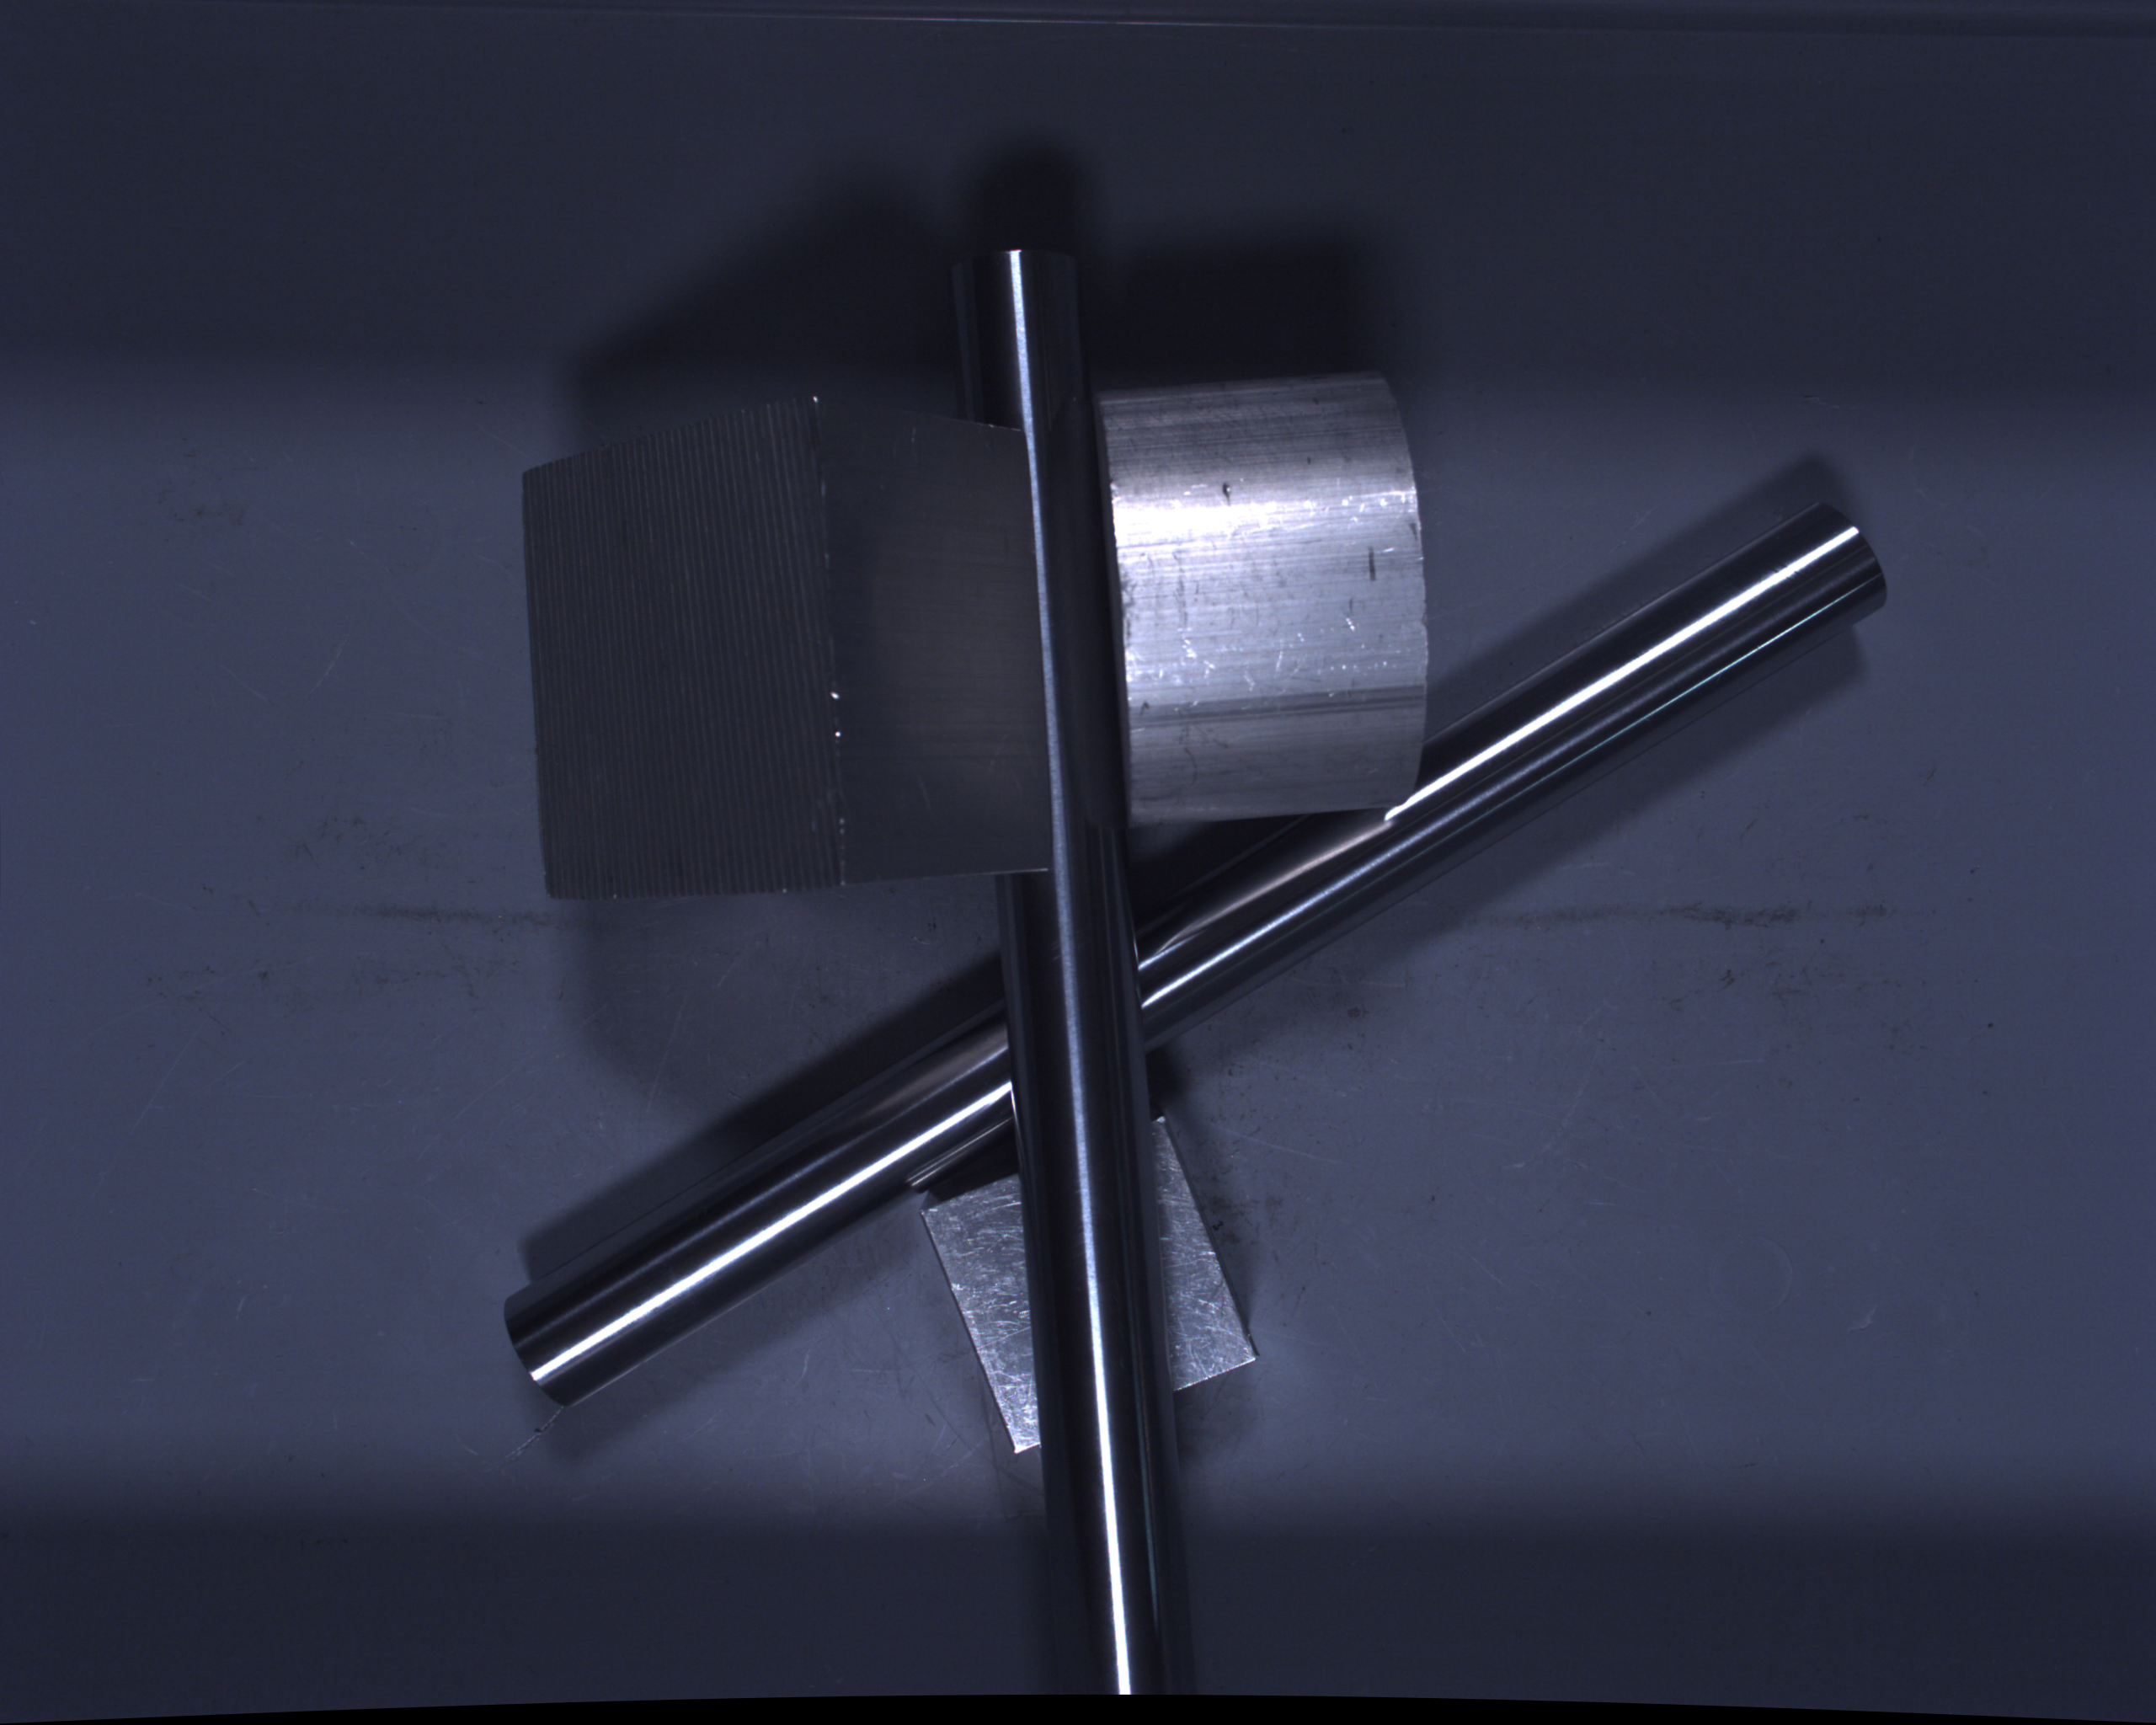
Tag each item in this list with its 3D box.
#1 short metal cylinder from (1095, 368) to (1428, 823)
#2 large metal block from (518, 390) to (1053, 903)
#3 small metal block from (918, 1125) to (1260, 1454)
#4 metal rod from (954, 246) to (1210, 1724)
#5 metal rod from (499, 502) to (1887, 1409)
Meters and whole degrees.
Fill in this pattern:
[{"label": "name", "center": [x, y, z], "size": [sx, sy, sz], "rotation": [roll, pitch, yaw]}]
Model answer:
[{"label": "short metal cylinder", "center": [0.031, -0.048, 0.382], "size": [0.050, 0.080, 0.079], "rotation": [-4, 90, -2]}, {"label": "large metal block", "center": [-0.054, -0.035, 0.377], "size": [0.080, 0.050, 0.079], "rotation": [-3, 90, 40]}, {"label": "small metal block", "center": [0.002, 0.081, 0.410], "size": [0.050, 0.025, 0.050], "rotation": [-21, 90, -1]}, {"label": "metal rod", "center": [0.002, 0.038, 0.384], "size": [0.025, 0.025, 0.298], "rotation": [-5, 89, -1]}, {"label": "metal rod", "center": [0.023, 0.018, 0.410], "size": [0.301, 0.025, 0.025], "rotation": [-31, 90, -1]}]
